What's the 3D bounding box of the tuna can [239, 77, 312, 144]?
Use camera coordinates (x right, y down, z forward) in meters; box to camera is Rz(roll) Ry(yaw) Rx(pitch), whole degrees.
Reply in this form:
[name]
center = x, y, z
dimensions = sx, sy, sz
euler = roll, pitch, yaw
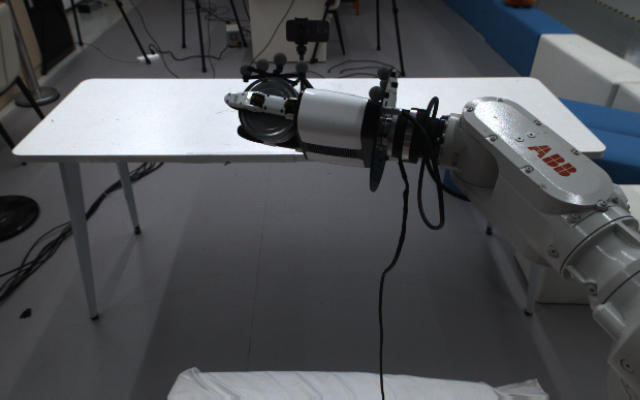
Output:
[tuna can]
center = -0.065, -0.120, 0.657
dimensions = 0.085, 0.085, 0.034
euler = 12, -1, 14
